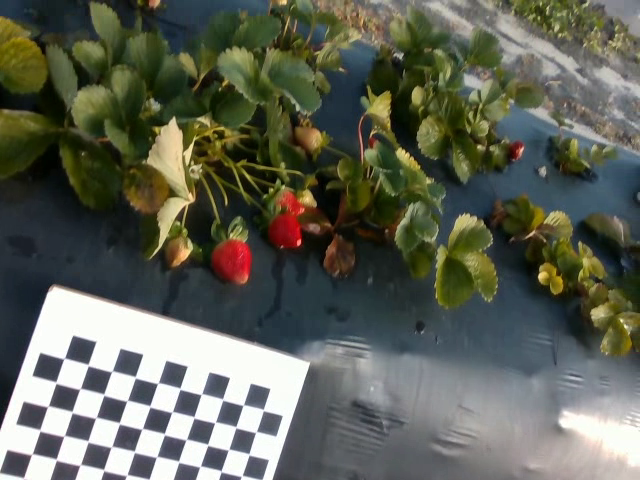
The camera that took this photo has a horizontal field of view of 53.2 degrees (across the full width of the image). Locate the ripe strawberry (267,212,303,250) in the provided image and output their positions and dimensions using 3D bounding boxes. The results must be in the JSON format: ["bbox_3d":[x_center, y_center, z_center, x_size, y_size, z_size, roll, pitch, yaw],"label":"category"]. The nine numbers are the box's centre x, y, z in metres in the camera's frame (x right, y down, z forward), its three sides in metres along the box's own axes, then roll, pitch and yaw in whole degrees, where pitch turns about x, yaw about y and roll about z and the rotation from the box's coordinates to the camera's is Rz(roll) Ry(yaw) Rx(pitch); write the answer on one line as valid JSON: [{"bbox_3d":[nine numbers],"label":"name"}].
[{"bbox_3d":[-0.040,-0.008,0.757,0.055,0.044,0.042,40,-9,35],"label":"ripe strawberry"}]

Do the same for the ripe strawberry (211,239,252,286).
[{"bbox_3d":[-0.097,0.025,0.701,0.050,0.050,0.065,-21,46,-12],"label":"ripe strawberry"}]
